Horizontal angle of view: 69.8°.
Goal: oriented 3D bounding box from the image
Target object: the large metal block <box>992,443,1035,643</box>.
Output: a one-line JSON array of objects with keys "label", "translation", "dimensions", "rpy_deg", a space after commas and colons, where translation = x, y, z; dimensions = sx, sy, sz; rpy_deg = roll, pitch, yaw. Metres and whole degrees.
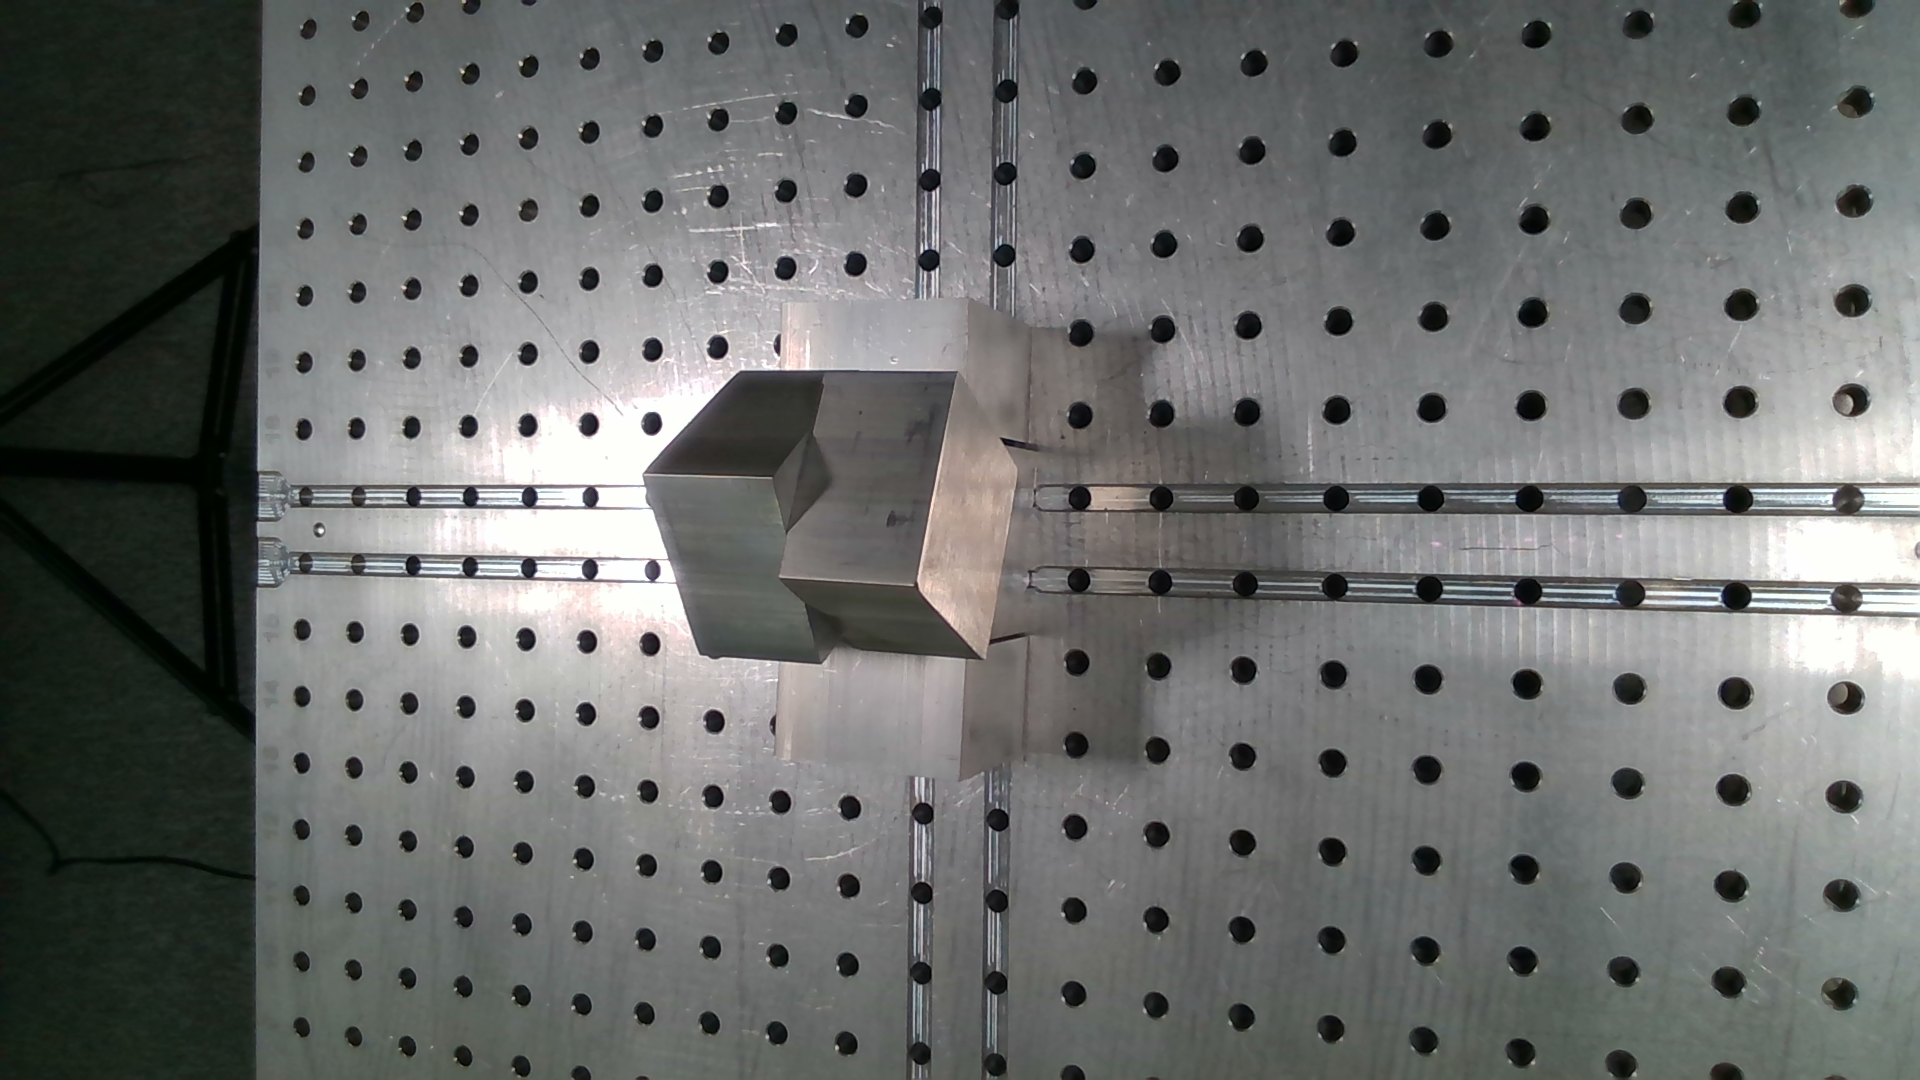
[{"label": "large metal block", "translation": [-0.016, -0.001, 0.578], "dimensions": [0.080, 0.050, 0.080], "rpy_deg": [3, 91, 20]}]

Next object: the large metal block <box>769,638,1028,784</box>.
[{"label": "large metal block", "translation": [-0.023, 0.064, 0.568], "dimensions": [0.080, 0.080, 0.050], "rpy_deg": [4, 92, 20]}]

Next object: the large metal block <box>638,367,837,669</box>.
[{"label": "large metal block", "translation": [-0.068, -0.010, 0.512], "dimensions": [0.050, 0.080, 0.080], "rpy_deg": [3, 124, 20]}]

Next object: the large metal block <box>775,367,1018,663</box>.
[{"label": "large metal block", "translation": [-0.020, -0.008, 0.498], "dimensions": [0.050, 0.080, 0.080], "rpy_deg": [3, 69, 20]}]

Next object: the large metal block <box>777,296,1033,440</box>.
[{"label": "large metal block", "translation": [-0.021, -0.067, 0.566], "dimensions": [0.080, 0.080, 0.050], "rpy_deg": [2, 91, 20]}]
